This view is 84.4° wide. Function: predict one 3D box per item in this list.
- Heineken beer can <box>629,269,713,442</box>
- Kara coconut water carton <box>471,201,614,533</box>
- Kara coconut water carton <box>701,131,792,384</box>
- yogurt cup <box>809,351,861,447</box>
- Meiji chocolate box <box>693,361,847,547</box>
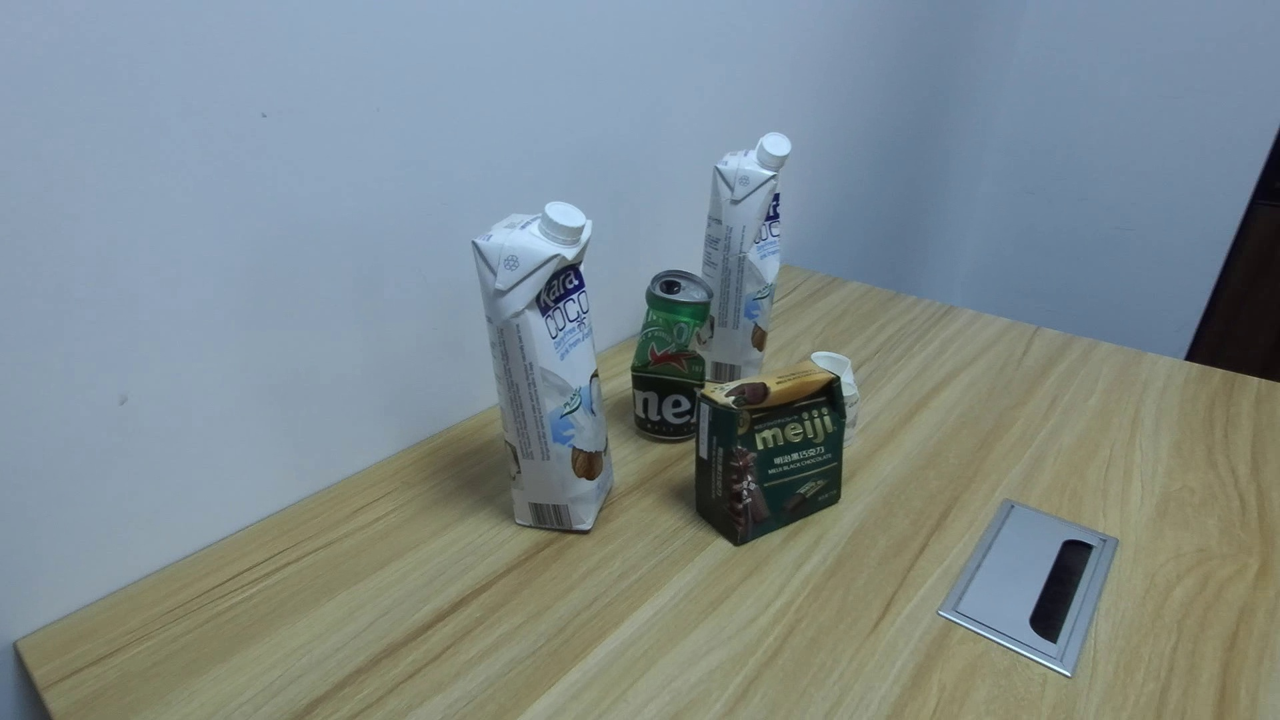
[{"bbox_3d":[0.027,-0.001,0.639,0.078,0.159,0.067,27,39,32],"label":"Heineken beer can"},{"bbox_3d":[-0.066,0.006,0.527,0.071,0.244,0.099,3,29,13],"label":"Kara coconut water carton"},{"bbox_3d":[0.103,-0.100,0.724,0.078,0.255,0.083,16,30,26],"label":"Kara coconut water carton"},{"bbox_3d":[0.175,0.039,0.654,0.054,0.071,0.075,-14,31,-25],"label":"yogurt cup"},{"bbox_3d":[0.103,0.071,0.557,0.114,0.111,0.058,-14,22,-30],"label":"Meiji chocolate box"}]
